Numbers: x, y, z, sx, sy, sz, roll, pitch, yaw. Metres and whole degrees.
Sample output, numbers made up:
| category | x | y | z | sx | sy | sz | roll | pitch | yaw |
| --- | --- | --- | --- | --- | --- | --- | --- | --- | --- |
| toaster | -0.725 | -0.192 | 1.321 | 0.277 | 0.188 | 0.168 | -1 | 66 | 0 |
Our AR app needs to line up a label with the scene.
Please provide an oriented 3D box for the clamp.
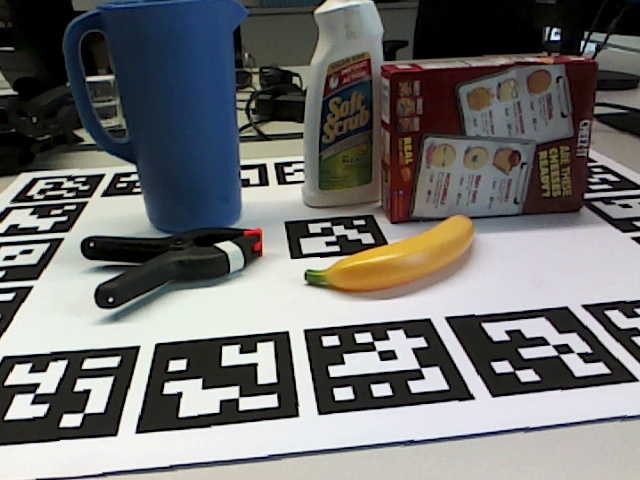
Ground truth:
| category | x | y | z | sx | sy | sz | roll | pitch | yaw |
| --- | --- | --- | --- | --- | --- | --- | --- | --- | --- |
| clamp | -0.125 | 0.024 | 0.589 | 0.164 | 0.036 | 0.122 | -11 | 22 | -22 |

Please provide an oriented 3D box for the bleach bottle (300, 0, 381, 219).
| category | x | y | z | sx | sy | sz | roll | pitch | yaw |
| --- | --- | --- | --- | --- | --- | --- | --- | --- | --- |
| bleach bottle | 0.020 | -0.155 | 0.725 | 0.102 | 0.250 | 0.068 | -6 | 22 | -6 |

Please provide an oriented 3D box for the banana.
| category | x | y | z | sx | sy | sz | roll | pitch | yaw |
| --- | --- | --- | --- | --- | --- | --- | --- | --- | --- |
| banana | 0.096 | 0.019 | 0.592 | 0.196 | 0.039 | 0.075 | -22 | 29 | -37 |

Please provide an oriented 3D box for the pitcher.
| category | x | y | z | sx | sy | sz | roll | pitch | yaw |
| --- | --- | --- | --- | --- | --- | --- | --- | --- | --- |
| pitcher | -0.161 | -0.139 | 0.662 | 0.188 | 0.242 | 0.134 | -11 | 23 | -25 |

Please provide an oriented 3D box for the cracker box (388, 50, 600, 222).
| category | x | y | z | sx | sy | sz | roll | pitch | yaw |
| --- | --- | --- | --- | --- | --- | --- | --- | --- | --- |
| cracker box | 0.185 | -0.116 | 0.682 | 0.213 | 0.164 | 0.072 | -6 | 20 | -4 |
